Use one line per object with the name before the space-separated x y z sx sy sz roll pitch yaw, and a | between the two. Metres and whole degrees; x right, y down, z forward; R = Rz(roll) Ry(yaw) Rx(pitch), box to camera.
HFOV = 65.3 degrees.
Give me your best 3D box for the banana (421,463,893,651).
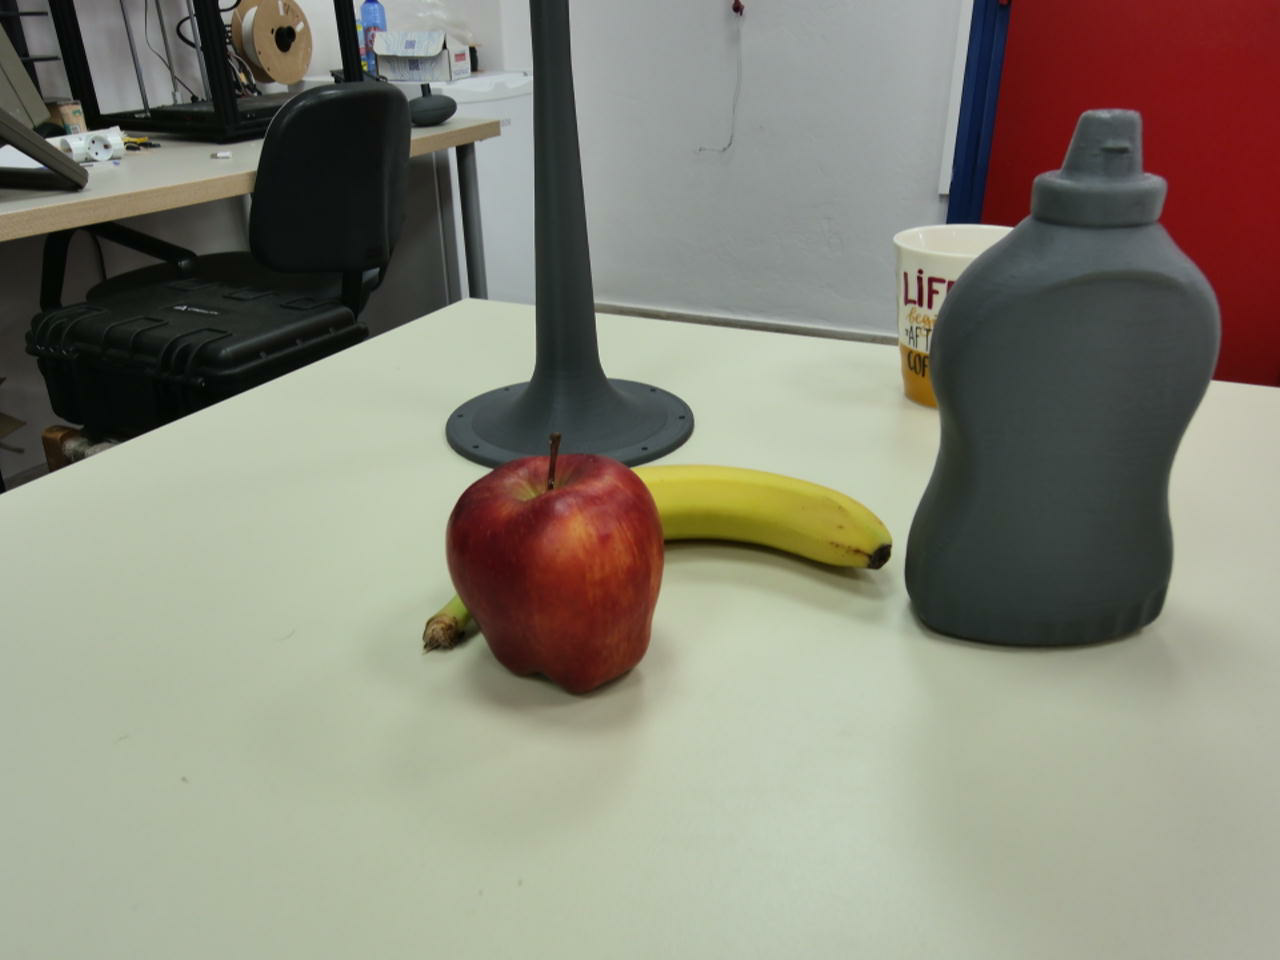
banana | 0.004 0.024 0.439 0.196 0.041 0.094 -4 24 -9
